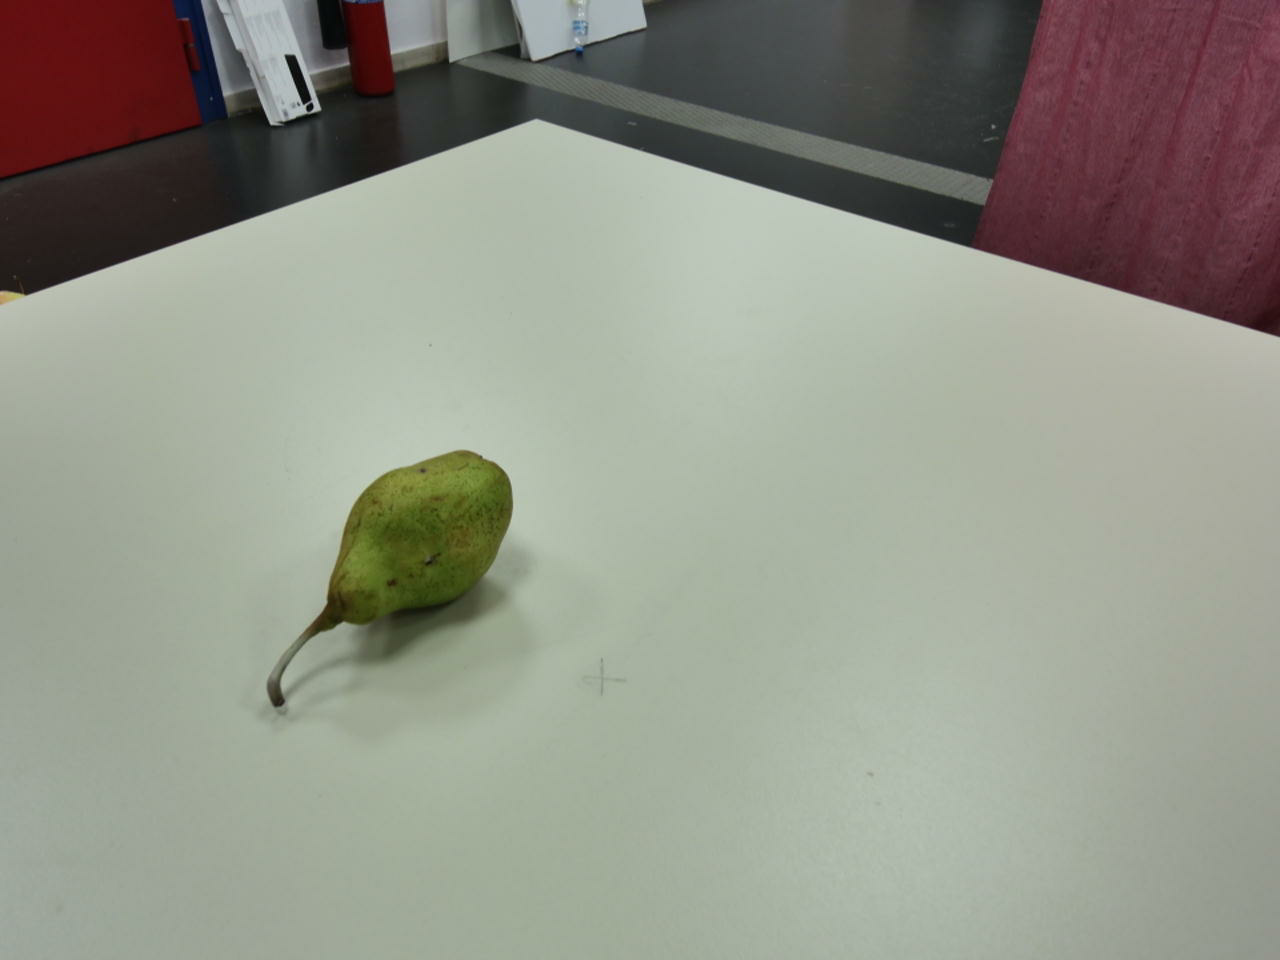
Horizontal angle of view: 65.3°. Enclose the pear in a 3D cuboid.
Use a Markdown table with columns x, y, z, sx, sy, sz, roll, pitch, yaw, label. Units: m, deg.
| x | y | z | sx | sy | sz | roll | pitch | yaw | label |
| --- | --- | --- | --- | --- | --- | --- | --- | --- | --- |
| -0.098 | 0.027 | 0.374 | 0.111 | 0.056 | 0.056 | -23 | 42 | -30 | pear |
